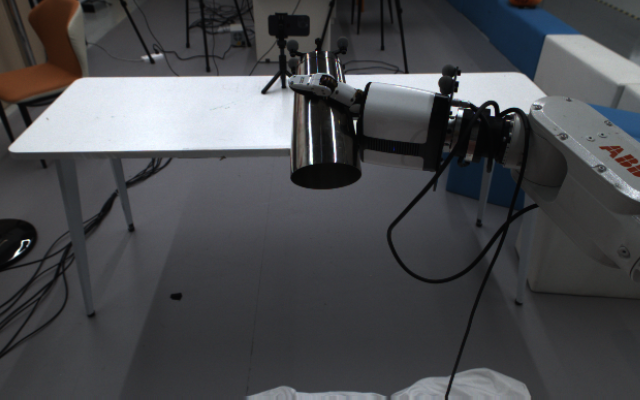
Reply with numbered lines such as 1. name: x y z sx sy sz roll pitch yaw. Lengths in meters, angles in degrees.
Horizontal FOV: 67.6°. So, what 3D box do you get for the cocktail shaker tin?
1. cocktail shaker tin: 0.003 -0.110 0.646 0.093 0.093 0.170 -2 70 -5
